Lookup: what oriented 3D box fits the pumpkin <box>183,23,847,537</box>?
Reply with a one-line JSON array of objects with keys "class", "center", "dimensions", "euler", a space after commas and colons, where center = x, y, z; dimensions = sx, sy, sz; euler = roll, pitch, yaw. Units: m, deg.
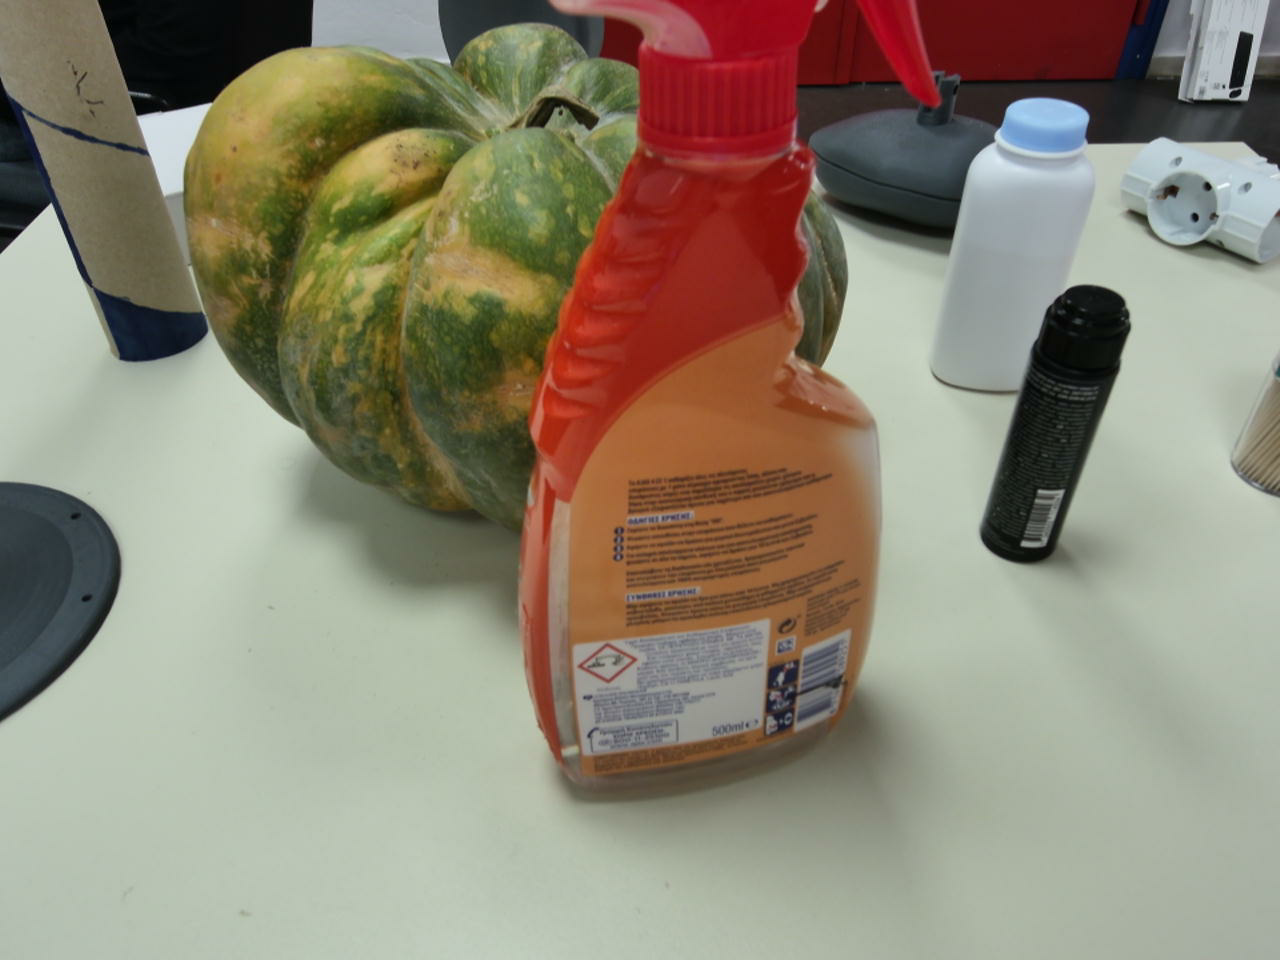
[{"class": "pumpkin", "center": [-0.046, -0.092, 0.414], "dimensions": [0.270, 0.173, 0.237], "euler": [25, 45, 28]}]
